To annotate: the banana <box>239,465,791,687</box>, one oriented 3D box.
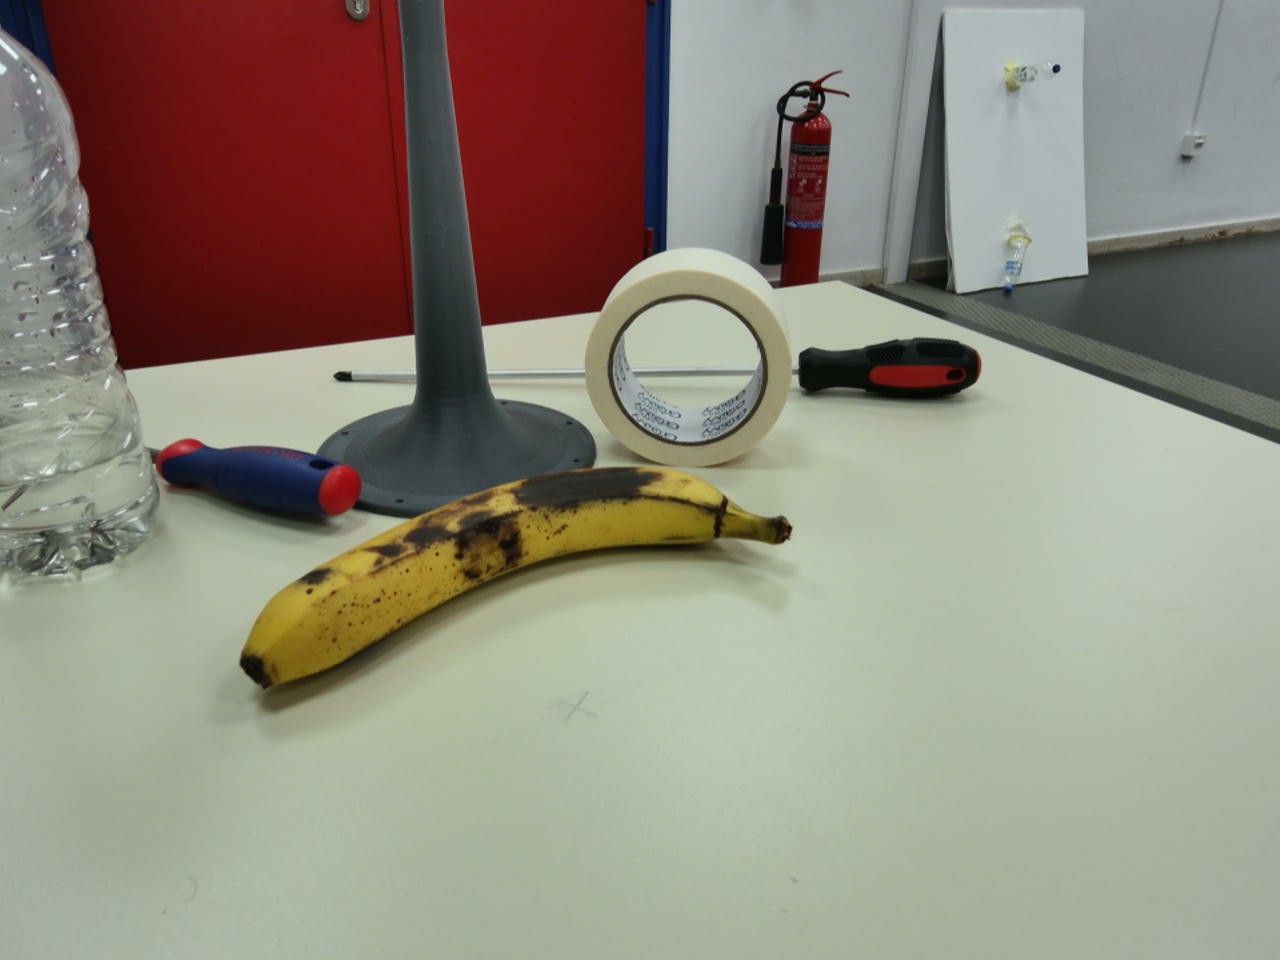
[{"bbox_3d":[-0.051,0.028,0.410,0.222,0.037,0.084,-11,26,-24],"label":"banana"}]
